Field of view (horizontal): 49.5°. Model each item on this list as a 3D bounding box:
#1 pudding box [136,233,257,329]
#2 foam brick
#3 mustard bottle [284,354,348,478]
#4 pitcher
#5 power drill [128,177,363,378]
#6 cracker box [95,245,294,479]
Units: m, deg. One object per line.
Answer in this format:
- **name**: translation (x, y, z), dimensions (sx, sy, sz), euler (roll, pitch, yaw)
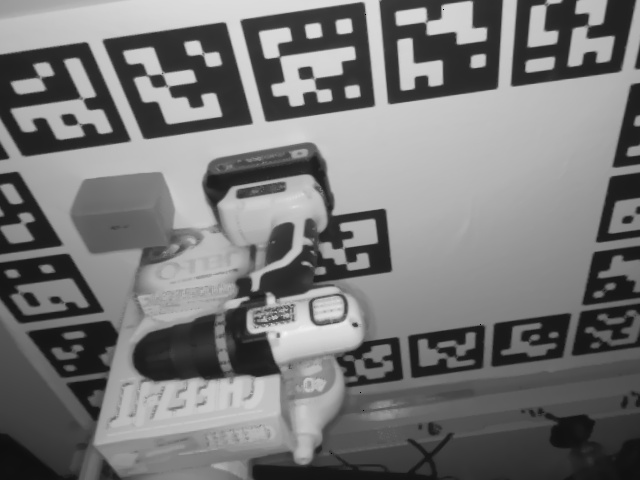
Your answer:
- **pudding box**: translation (-0.119, 0.038, 0.687), dimensions (0.114, 0.090, 0.038), euler (-8, 132, -1)
- **foam brick**: translation (-0.185, -0.023, 0.671), dimensions (0.078, 0.052, 0.052), euler (-6, 129, 0)
- **mustard bottle**: translation (-0.020, 0.171, 0.747), dimensions (0.097, 0.193, 0.058), euler (3, 129, -7)
- **pitcher**: translation (-0.151, 0.196, 0.741), dimensions (0.189, 0.244, 0.132), euler (-4, 131, -4)
- **power drill**: translation (-0.061, 0.031, 0.593), dimensions (0.184, 0.188, 0.057), euler (-8, 134, 3)
- **cracker box**: translation (-0.117, 0.111, 0.678), dimensions (0.164, 0.215, 0.071), euler (-10, 133, 1)
